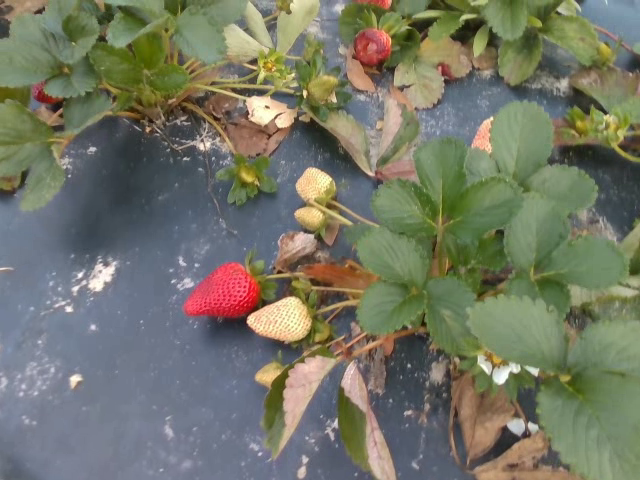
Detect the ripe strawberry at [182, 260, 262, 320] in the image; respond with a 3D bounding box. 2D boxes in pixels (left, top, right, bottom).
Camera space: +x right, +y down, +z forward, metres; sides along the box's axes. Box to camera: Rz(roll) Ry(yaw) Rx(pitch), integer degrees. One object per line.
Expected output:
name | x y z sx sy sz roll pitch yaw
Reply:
ripe strawberry | -0.069 0.037 0.420 0.059 0.034 0.050 -30 61 -30
